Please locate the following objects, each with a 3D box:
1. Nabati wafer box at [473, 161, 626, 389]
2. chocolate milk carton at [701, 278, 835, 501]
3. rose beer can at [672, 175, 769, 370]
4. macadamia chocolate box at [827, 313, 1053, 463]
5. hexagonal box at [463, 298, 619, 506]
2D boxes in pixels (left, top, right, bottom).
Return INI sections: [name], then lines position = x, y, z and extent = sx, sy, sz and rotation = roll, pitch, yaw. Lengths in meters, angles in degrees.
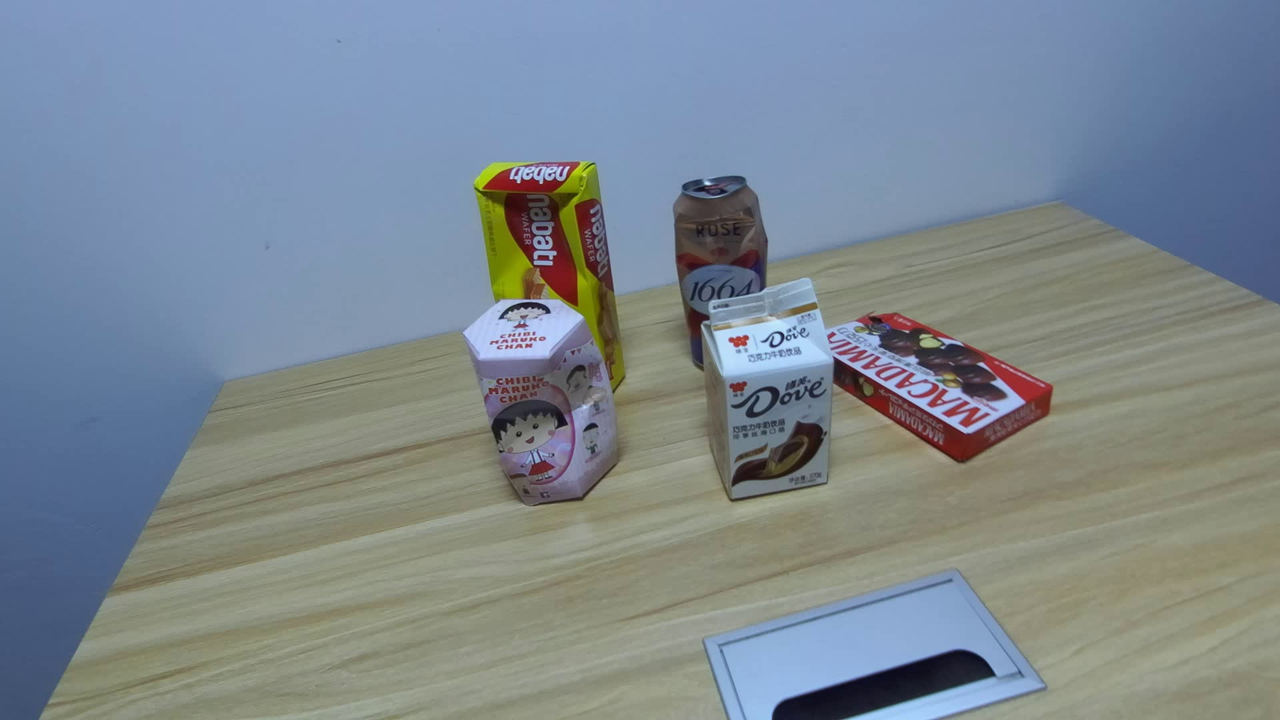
[Nabati wafer box]
position = -0.073, -0.061, 0.597
extent = 0.096, 0.204, 0.042
rotation = 6, 33, 20
[chocolate milk carton]
position = 0.086, 0.014, 0.488
extent = 0.075, 0.148, 0.074
rotation = -9, 32, -4
[rose beer can]
position = 0.071, -0.071, 0.607
extent = 0.075, 0.167, 0.065
rotation = 4, 31, 23
[macadamia chocolate box]
position = 0.227, 0.009, 0.583
extent = 0.103, 0.027, 0.186
rotation = -21, 35, -21
[hexagonal box]
position = -0.075, 0.031, 0.519
extent = 0.089, 0.135, 0.093
rotation = -27, 37, -25
